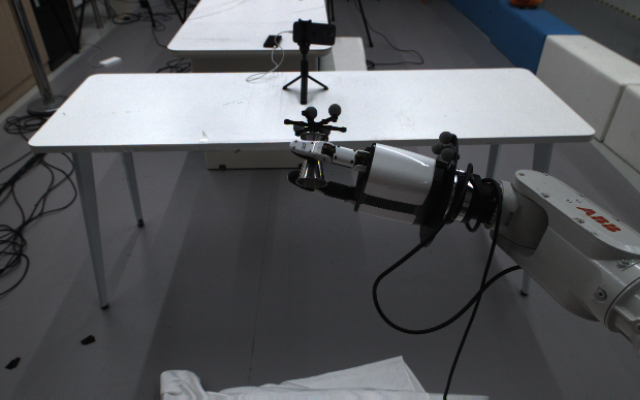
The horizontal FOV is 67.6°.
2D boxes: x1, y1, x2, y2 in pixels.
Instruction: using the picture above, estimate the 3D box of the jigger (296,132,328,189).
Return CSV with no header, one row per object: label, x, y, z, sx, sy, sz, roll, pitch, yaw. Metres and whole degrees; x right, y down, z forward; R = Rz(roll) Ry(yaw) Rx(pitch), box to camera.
jigger,-0.011,-0.056,0.671,0.043,0.043,0.071,3,75,2
